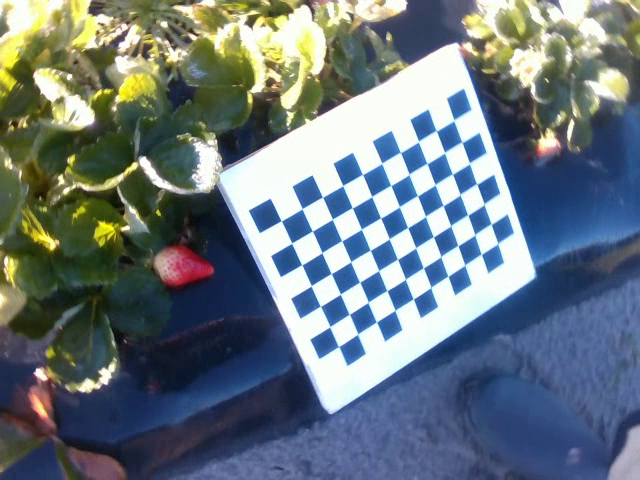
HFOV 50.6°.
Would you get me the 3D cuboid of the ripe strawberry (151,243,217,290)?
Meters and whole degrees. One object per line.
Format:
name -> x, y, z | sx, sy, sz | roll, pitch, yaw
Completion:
ripe strawberry -> -0.135, 0.031, 0.652 | 0.065, 0.040, 0.040 | 13, -1, -25
